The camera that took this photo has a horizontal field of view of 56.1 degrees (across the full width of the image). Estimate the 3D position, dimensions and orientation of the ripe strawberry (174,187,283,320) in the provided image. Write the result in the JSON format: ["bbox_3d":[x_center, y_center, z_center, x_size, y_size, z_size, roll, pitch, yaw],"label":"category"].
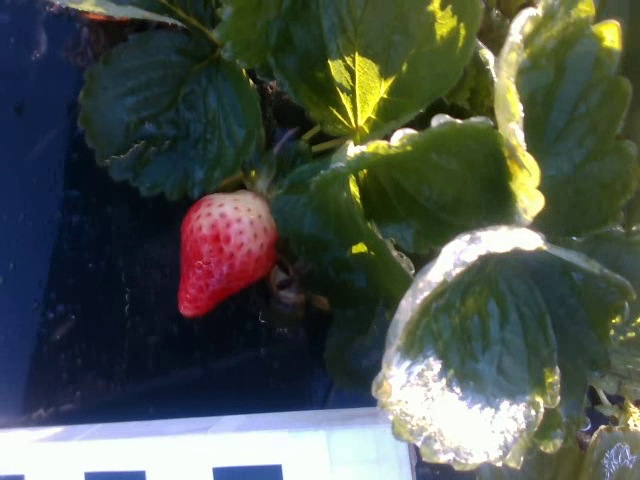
[{"bbox_3d":[-0.048,0.005,0.245,0.040,0.065,0.040,34,7,6],"label":"ripe strawberry"}]
